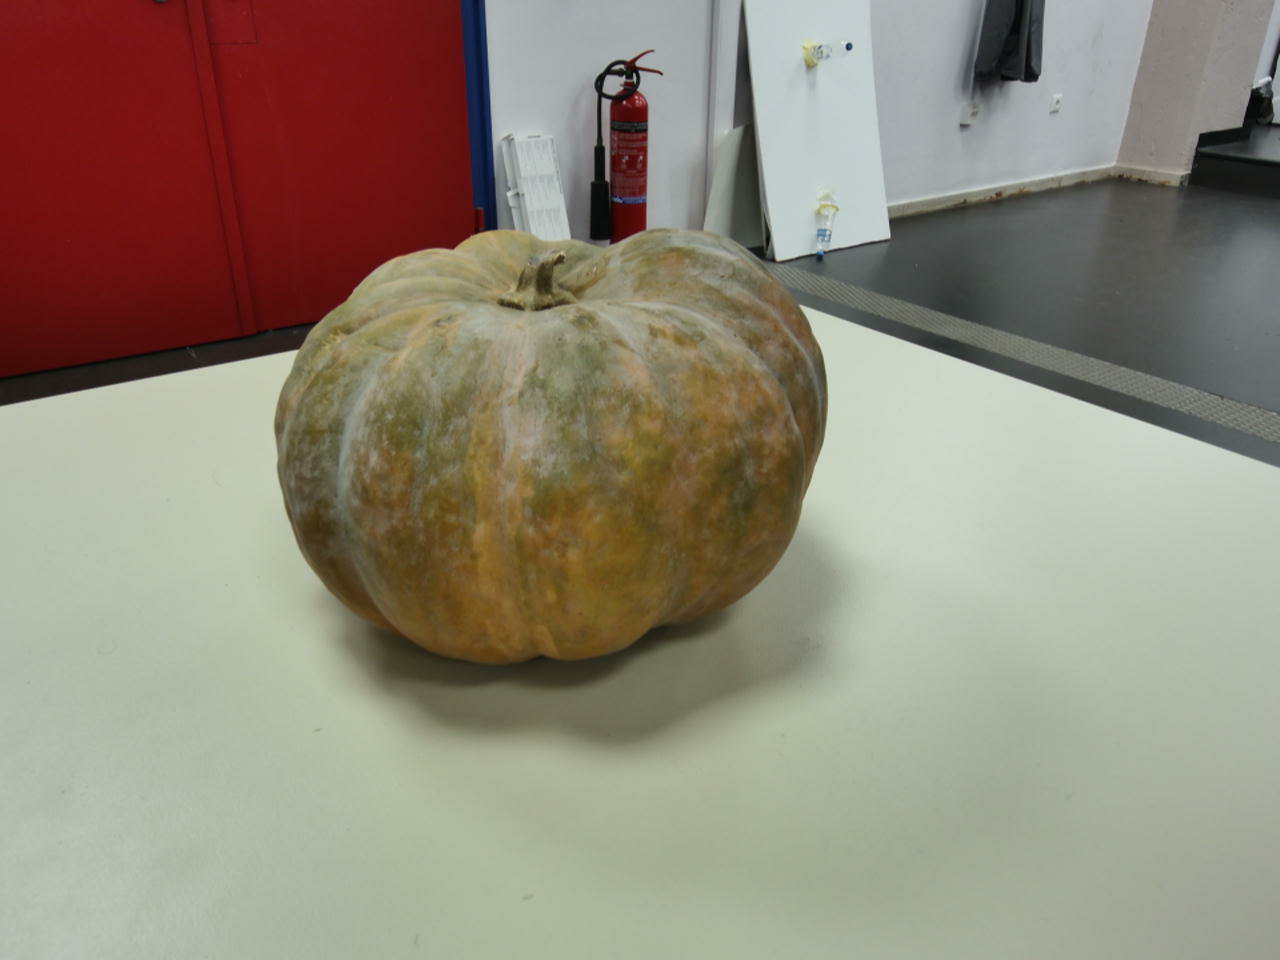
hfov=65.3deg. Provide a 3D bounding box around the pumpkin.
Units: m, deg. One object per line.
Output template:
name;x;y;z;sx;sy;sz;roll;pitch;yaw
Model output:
pumpkin;-0.041;-0.023;0.459;0.252;0.169;0.251;0;25;0
